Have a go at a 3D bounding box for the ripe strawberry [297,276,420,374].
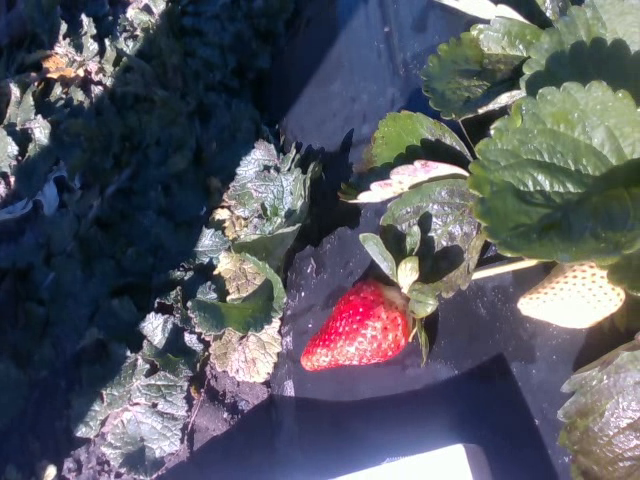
[{"bbox_3d":[0.016,0.045,0.286,0.068,0.048,0.040,-39,-40,13],"label":"ripe strawberry"}]
